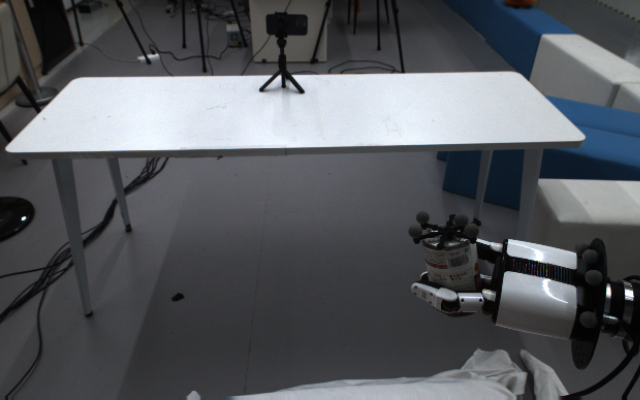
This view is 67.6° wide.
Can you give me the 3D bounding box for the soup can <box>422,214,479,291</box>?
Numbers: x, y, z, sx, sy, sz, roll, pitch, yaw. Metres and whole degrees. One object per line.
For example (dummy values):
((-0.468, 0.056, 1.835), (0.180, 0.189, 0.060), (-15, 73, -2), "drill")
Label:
((0.174, 0.090, 0.628), (0.067, 0.101, 0.067), (-12, 19, 4), "soup can")
